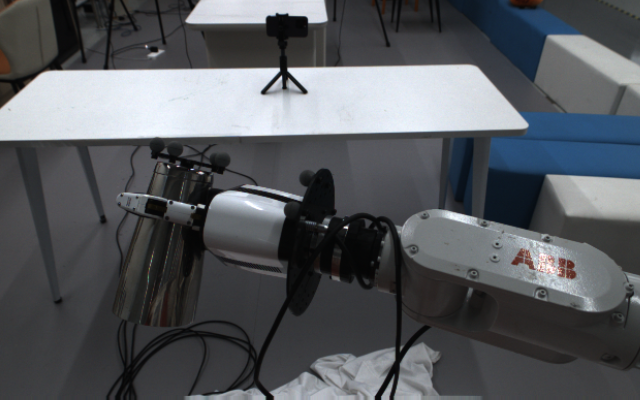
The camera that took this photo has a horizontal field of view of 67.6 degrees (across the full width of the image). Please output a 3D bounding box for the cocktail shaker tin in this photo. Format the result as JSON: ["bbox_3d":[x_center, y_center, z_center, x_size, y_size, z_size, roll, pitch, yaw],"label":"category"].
[{"bbox_3d":[-0.168,0.046,0.552,0.093,0.170,0.093,12,1,0],"label":"cocktail shaker tin"}]
